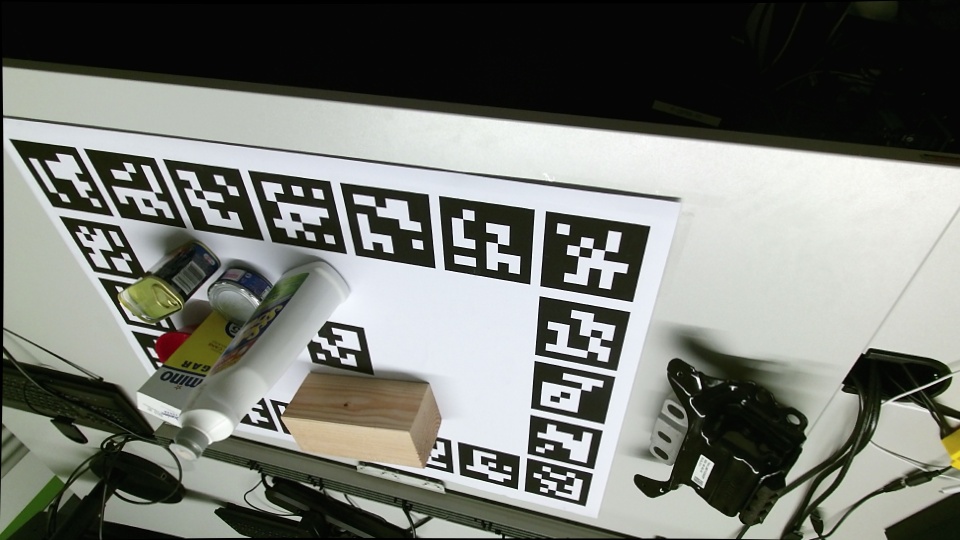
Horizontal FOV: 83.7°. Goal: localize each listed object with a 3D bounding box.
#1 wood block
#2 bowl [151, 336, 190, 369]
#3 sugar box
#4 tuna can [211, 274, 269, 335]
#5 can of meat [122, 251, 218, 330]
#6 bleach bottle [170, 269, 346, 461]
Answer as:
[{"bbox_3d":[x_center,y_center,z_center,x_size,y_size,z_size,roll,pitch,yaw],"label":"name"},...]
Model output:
[{"bbox_3d":[-0.171,0.230,0.794,0.207,0.089,0.091,1,123,19],"label":"wood block"},{"bbox_3d":[-0.420,0.152,0.831,0.162,0.055,0.162,7,130,8],"label":"bowl"},{"bbox_3d":[-0.361,0.136,0.716,0.093,0.176,0.045,22,129,-4],"label":"sugar box"},{"bbox_3d":[-0.323,0.048,0.726,0.086,0.033,0.086,8,126,11],"label":"tuna can"},{"bbox_3d":[-0.411,0.028,0.714,0.102,0.083,0.058,-18,123,31],"label":"can of meat"},{"bbox_3d":[-0.253,0.105,0.611,0.103,0.250,0.068,-15,122,27],"label":"bleach bottle"}]
